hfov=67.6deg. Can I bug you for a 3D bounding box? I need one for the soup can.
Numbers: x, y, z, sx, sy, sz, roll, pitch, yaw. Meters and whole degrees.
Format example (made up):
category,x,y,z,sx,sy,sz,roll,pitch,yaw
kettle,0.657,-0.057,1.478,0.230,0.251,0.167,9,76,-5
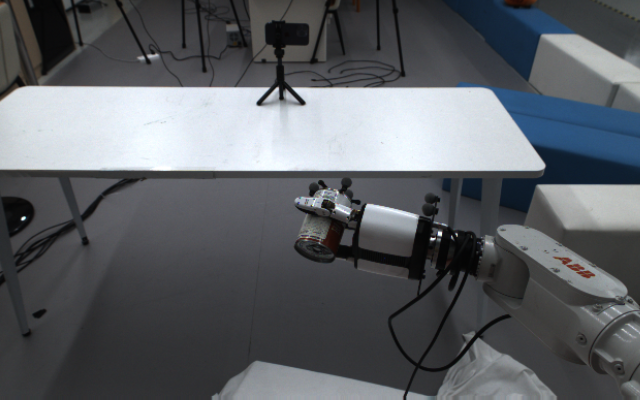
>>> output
category,x,y,z,sx,sy,sz,roll,pitch,yaw
soup can,0.006,0.039,0.770,0.067,0.067,0.101,12,59,14
